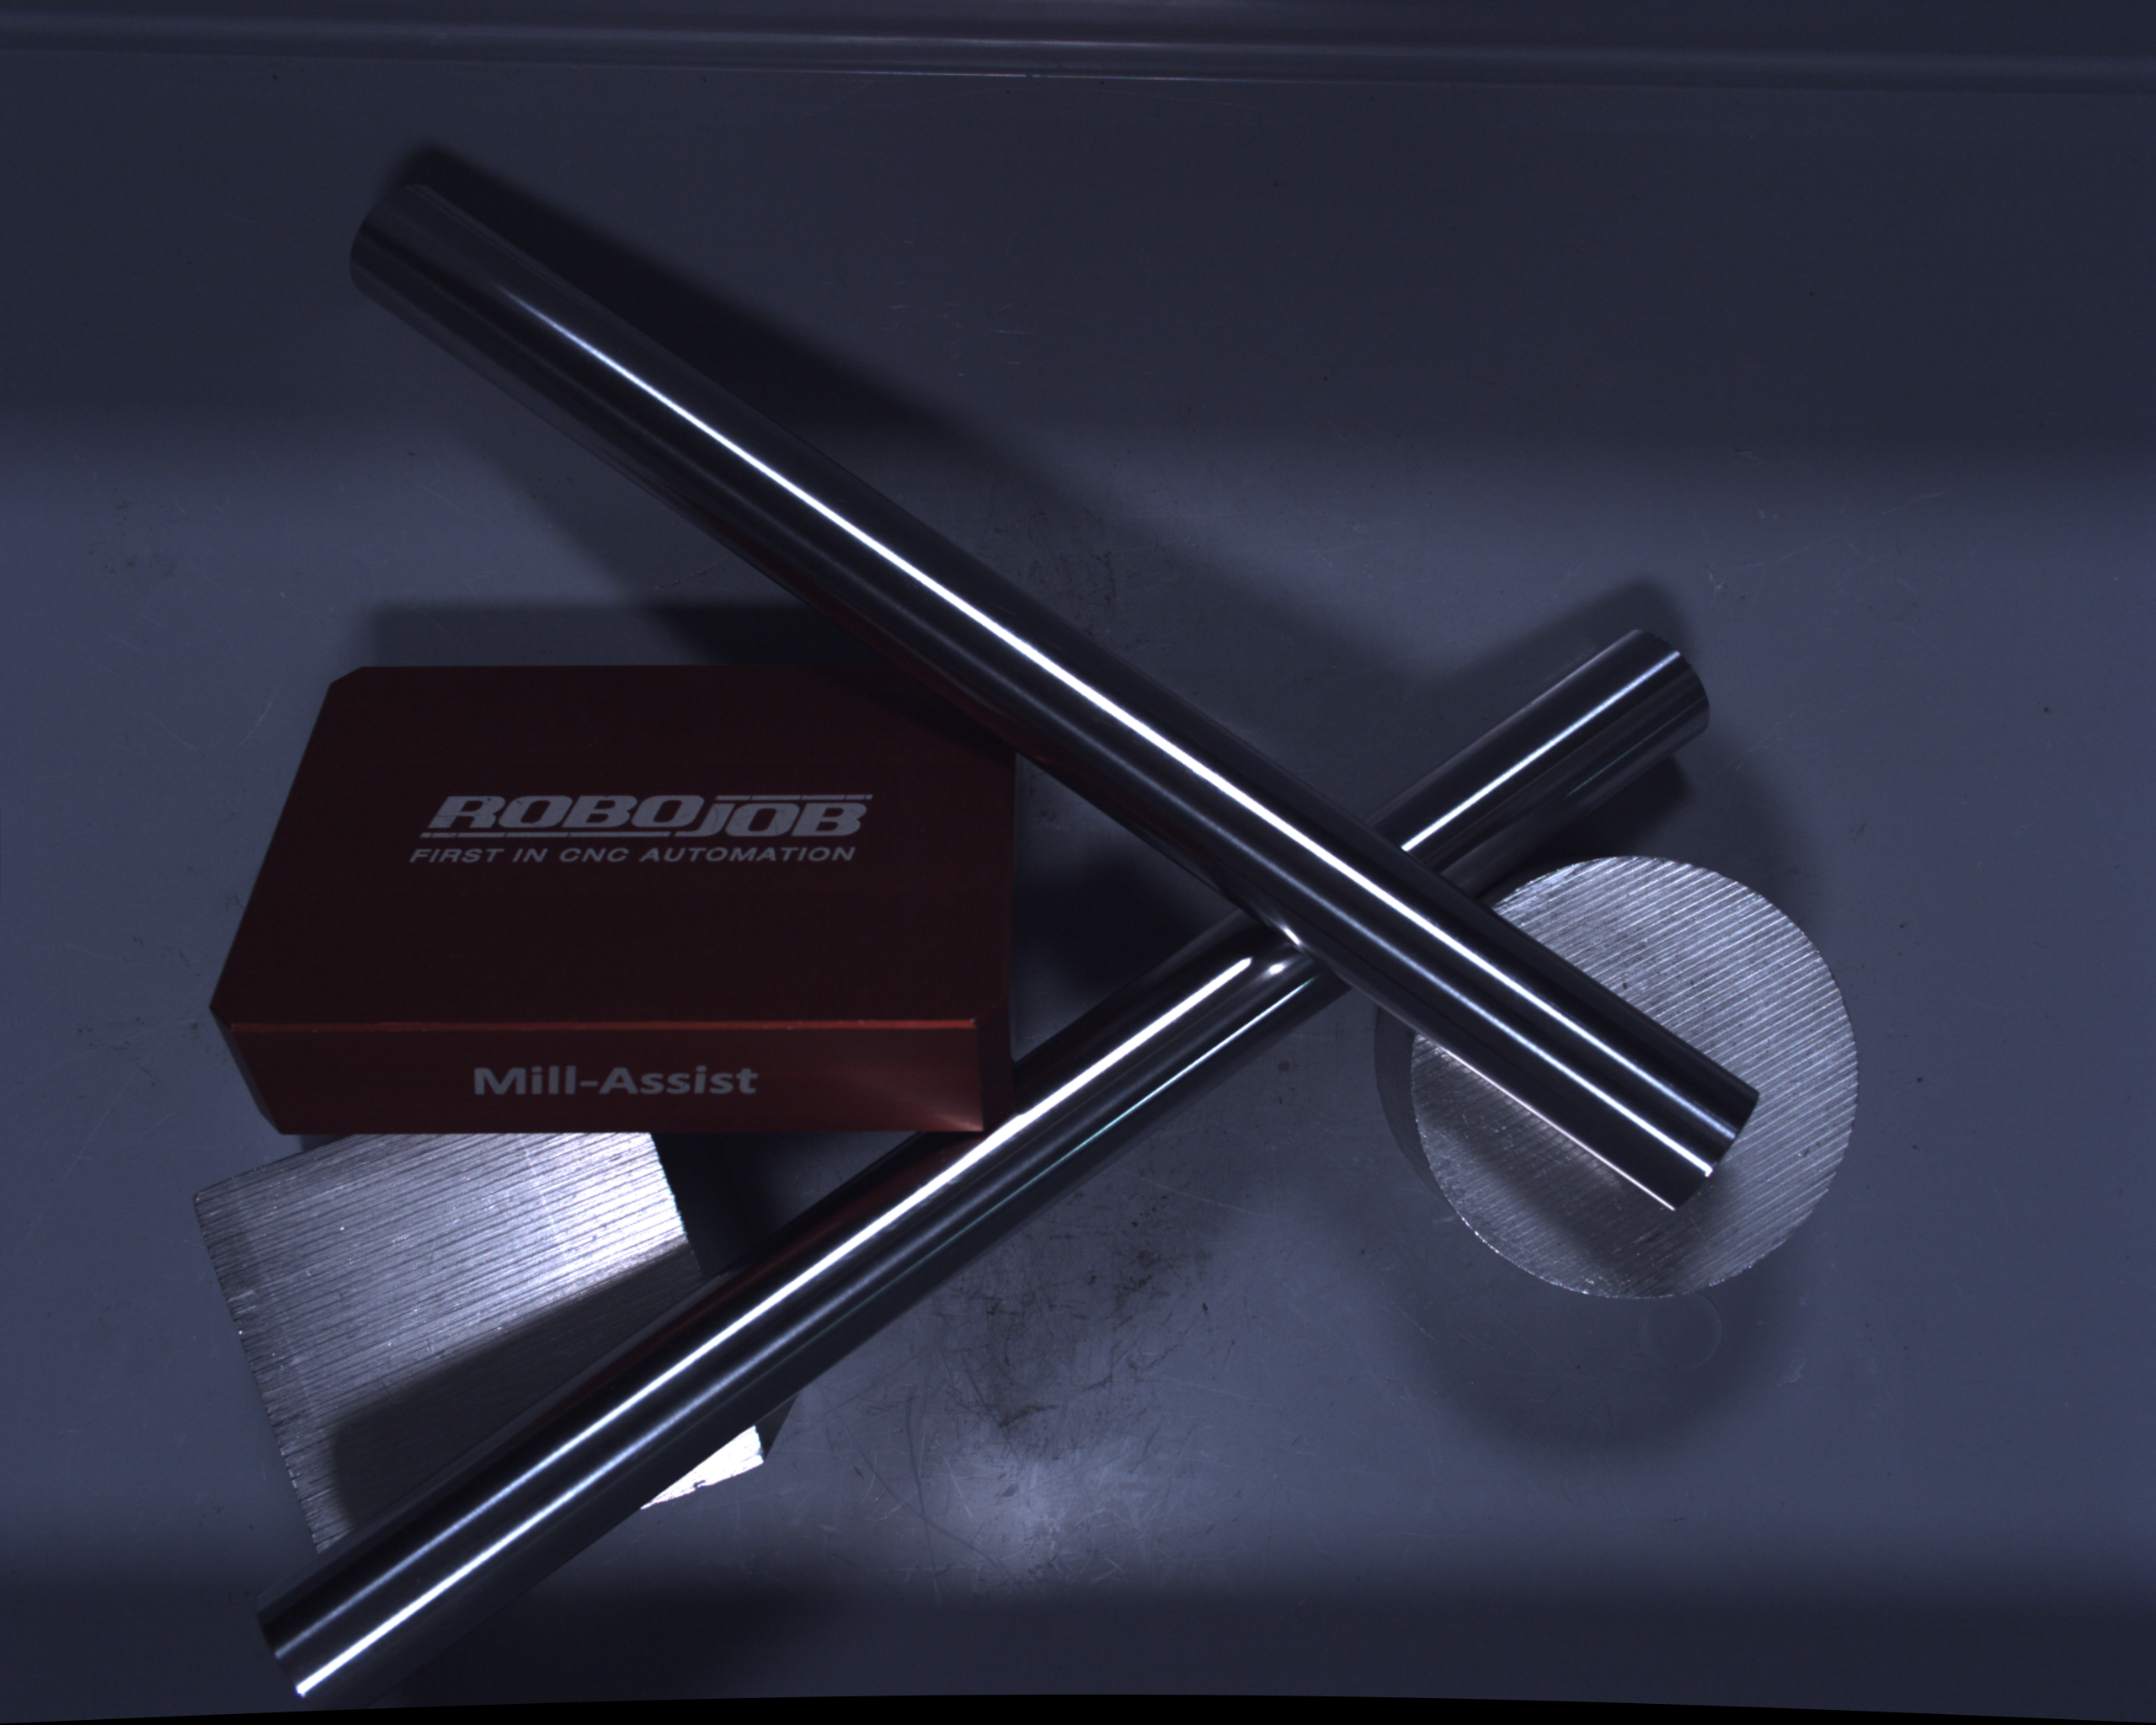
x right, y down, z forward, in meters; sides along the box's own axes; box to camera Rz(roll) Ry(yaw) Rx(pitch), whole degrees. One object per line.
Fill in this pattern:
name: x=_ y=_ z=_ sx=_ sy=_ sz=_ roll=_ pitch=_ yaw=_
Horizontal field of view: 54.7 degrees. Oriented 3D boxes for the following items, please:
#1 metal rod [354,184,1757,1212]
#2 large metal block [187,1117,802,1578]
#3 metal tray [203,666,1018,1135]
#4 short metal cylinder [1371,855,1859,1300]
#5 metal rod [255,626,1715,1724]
metal rod: x=-0.013 y=-0.037 z=0.380 sx=0.300 sy=0.025 sz=0.025 roll=36 pitch=90 yaw=12
large metal block: x=-0.106 y=0.083 z=0.393 sx=0.080 sy=0.050 sz=0.080 roll=-19 pitch=90 yaw=-1
metal tray: x=-0.077 y=0.005 z=0.379 sx=0.131 sy=0.030 sz=0.090 roll=0 pitch=46 yaw=1
short metal cylinder: x=0.099 y=0.038 z=0.398 sx=0.081 sy=0.050 sz=0.079 roll=0 pitch=90 yaw=-1
metal rod: x=-0.005 y=0.047 z=0.373 sx=0.301 sy=0.025 sz=0.025 roll=-34 pitch=90 yaw=-14
